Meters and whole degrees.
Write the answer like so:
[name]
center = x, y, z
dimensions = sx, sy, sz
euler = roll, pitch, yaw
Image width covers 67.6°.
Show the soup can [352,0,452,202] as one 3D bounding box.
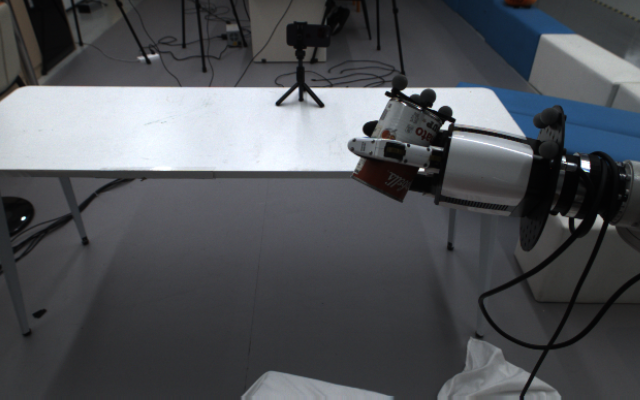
[soup can]
center = 0.089, -0.056, 0.555
dimensions = 0.067, 0.101, 0.067
euler = 26, 5, -3
